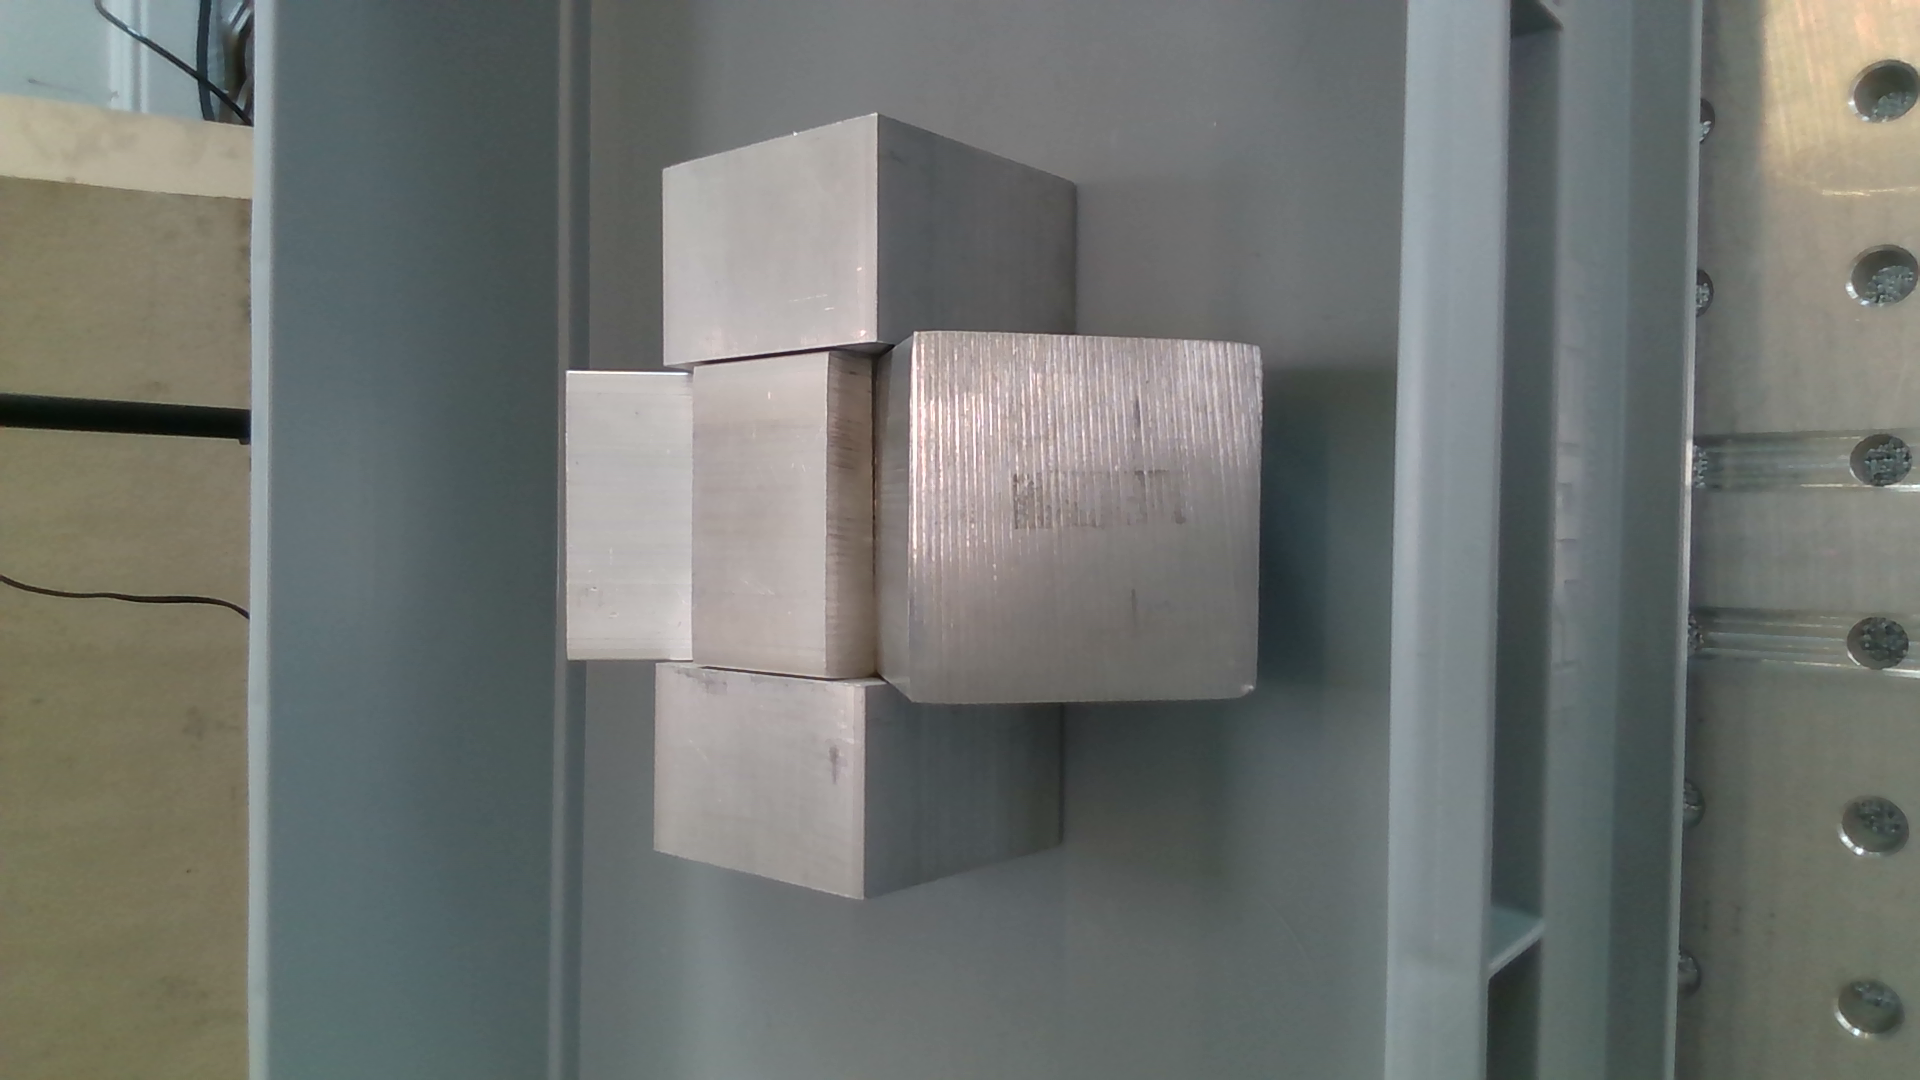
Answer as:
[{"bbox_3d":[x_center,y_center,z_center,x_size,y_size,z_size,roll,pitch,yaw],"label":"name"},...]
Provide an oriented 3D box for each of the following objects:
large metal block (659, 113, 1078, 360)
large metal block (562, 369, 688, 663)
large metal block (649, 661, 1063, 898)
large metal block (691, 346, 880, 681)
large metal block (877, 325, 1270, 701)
[{"bbox_3d":[-0.024,-0.074,0.374,0.080,0.080,0.050,1,91,40],"label":"large metal block"},{"bbox_3d":[-0.084,-0.008,0.416,0.050,0.080,0.080,0,92,-2],"label":"large metal block"},{"bbox_3d":[-0.028,0.058,0.378,0.080,0.080,0.050,1,91,40],"label":"large metal block"},{"bbox_3d":[-0.026,-0.007,0.375,0.050,0.080,0.080,1,91,40],"label":"large metal block"},{"bbox_3d":[0.024,-0.006,0.325,0.050,0.080,0.080,-172,83,-78],"label":"large metal block"}]
